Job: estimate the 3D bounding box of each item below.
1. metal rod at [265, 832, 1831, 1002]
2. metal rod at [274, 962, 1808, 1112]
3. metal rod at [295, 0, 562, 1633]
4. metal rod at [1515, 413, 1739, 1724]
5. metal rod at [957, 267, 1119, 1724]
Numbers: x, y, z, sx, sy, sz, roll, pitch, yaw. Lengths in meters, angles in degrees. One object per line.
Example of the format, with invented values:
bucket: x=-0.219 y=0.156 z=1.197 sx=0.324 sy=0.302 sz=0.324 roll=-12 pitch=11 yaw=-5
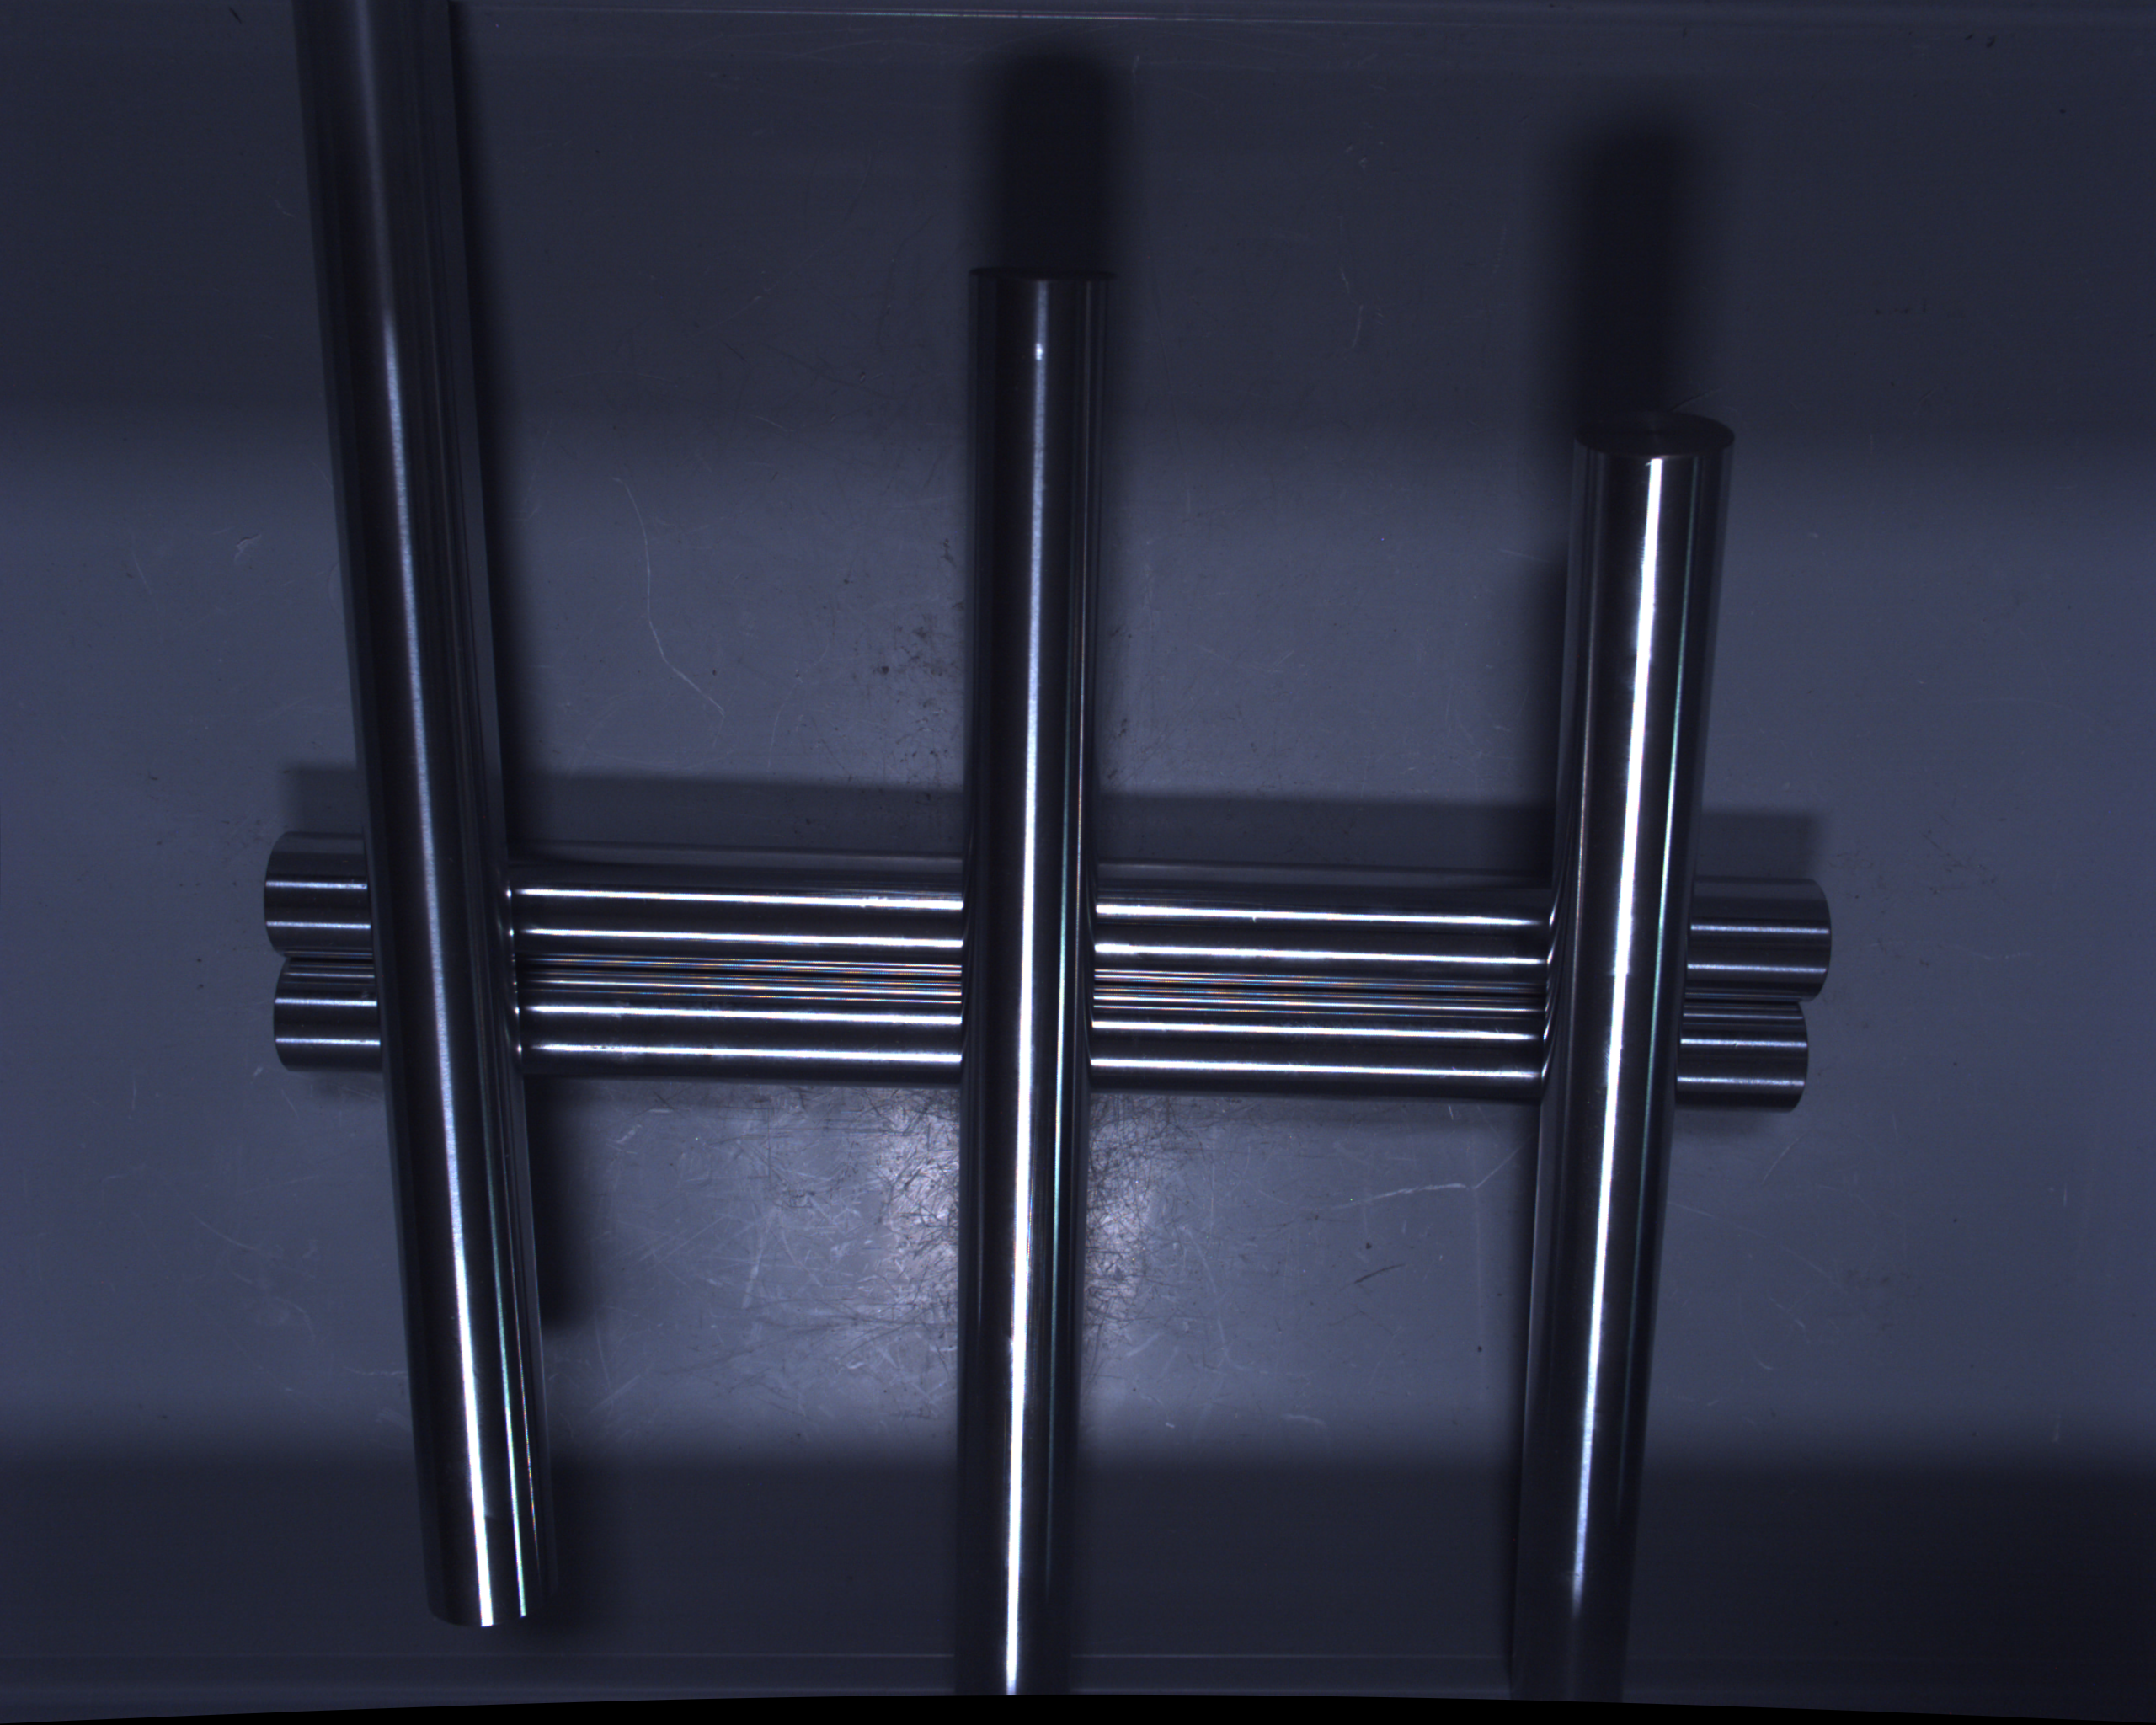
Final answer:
metal rod: x=-0.005 y=0.011 z=0.414 sx=0.302 sy=0.025 sz=0.025 roll=2 pitch=110 yaw=-1
metal rod: x=-0.006 y=0.034 z=0.423 sx=0.302 sy=0.025 sz=0.025 roll=2 pitch=110 yaw=-1
metal rod: x=-0.117 y=0.000 z=0.383 sx=0.025 sy=0.025 sz=0.298 roll=-1 pitch=102 yaw=0
metal rod: x=0.104 y=0.061 z=0.410 sx=0.025 sy=0.025 sz=0.298 roll=-4 pitch=119 yaw=1
metal rod: x=-0.010 y=0.041 z=0.399 sx=0.025 sy=0.025 sz=0.298 roll=1 pitch=110 yaw=-1
